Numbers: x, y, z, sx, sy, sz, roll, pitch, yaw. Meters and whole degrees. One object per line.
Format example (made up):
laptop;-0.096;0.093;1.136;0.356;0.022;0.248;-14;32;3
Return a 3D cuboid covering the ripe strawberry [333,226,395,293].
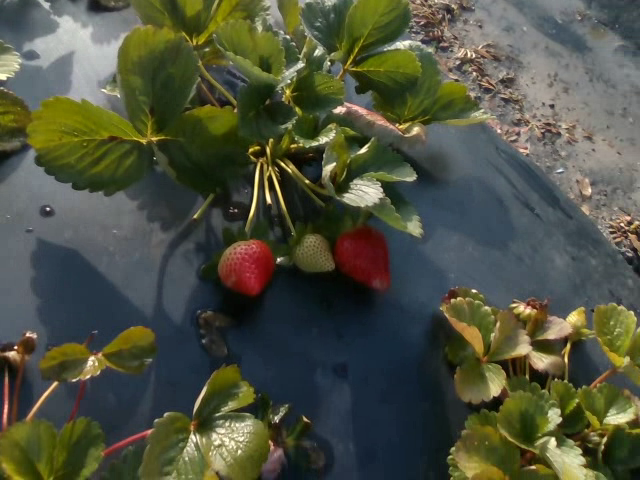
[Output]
ripe strawberry;0.038;0.017;0.466;0.048;0.065;0.050;-30;-18;14
